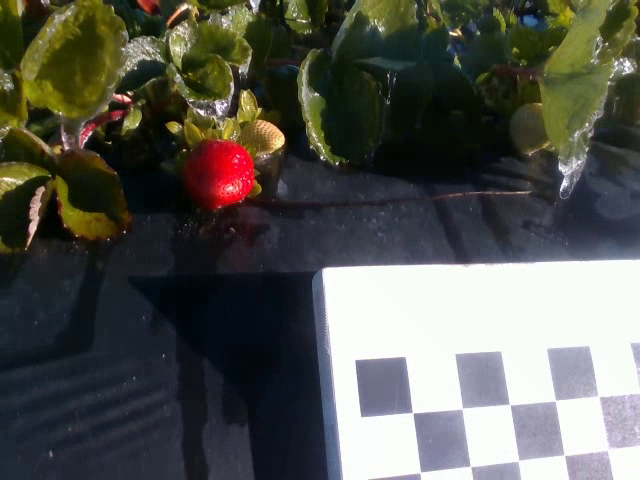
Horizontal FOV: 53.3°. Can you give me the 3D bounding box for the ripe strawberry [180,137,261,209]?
[{"bbox_3d":[-0.037,-0.023,0.241,0.039,0.040,0.039,-13,14,-8],"label":"ripe strawberry"}]
